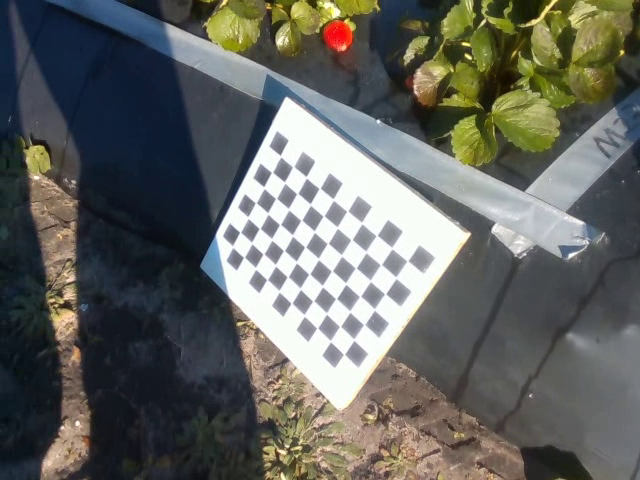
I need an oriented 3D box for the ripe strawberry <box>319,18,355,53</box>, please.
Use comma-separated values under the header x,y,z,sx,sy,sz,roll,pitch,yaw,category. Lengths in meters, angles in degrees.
x,y,z,sx,sy,sz,roll,pitch,yaw,category
0.026,-0.273,0.813,0.045,0.059,0.042,-30,-32,30,ripe strawberry
